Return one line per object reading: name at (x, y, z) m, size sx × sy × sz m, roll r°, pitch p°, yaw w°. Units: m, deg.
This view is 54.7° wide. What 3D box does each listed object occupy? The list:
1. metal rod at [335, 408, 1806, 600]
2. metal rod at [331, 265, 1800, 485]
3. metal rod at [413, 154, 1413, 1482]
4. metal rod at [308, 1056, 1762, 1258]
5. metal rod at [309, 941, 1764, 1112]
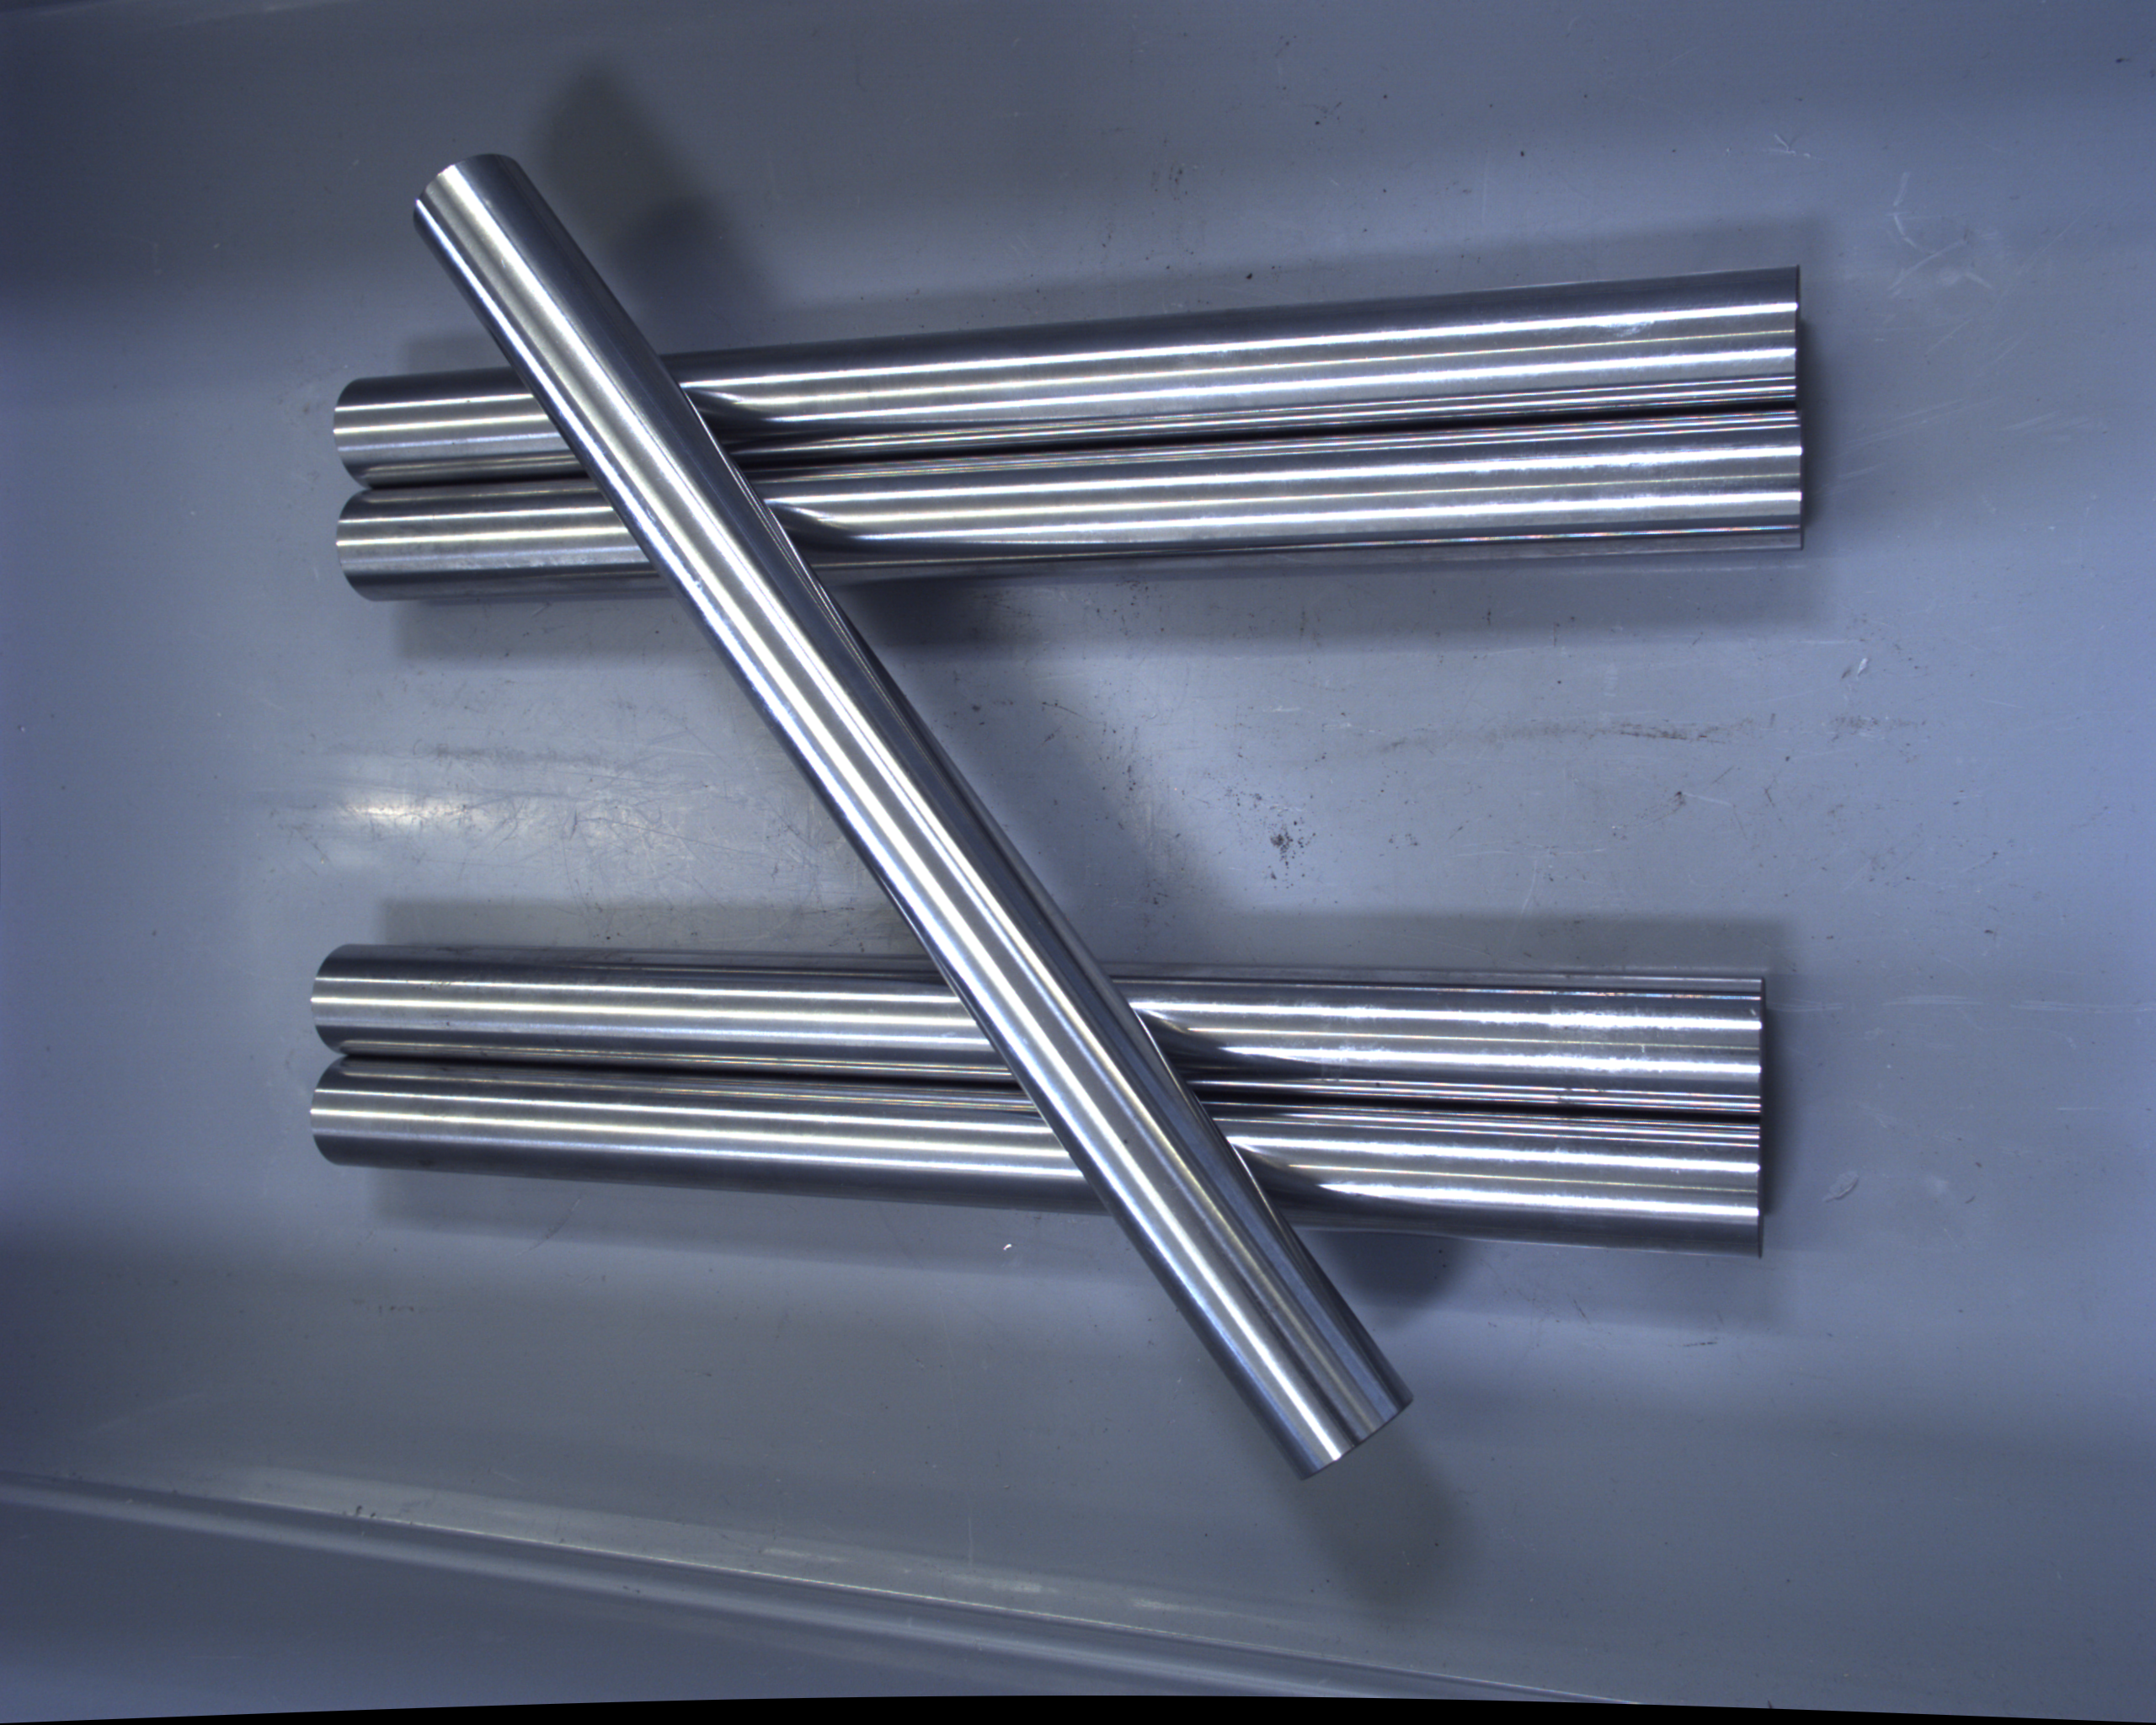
metal rod at (-0.015, -0.069, 0.414) m, size 0.301 × 0.025 × 0.025 m, roll 1°, pitch 90°, yaw 19°
metal rod at (-0.016, -0.093, 0.414) m, size 0.301 × 0.025 × 0.025 m, roll 1°, pitch 90°, yaw 19°
metal rod at (-0.038, -0.017, 0.396) m, size 0.025 × 0.025 × 0.299 m, roll -40°, pitch 78°, yaw 16°
metal rod at (-0.022, 0.056, 0.416) m, size 0.301 × 0.025 × 0.025 m, roll 0°, pitch 90°, yaw 19°
metal rod at (-0.021, 0.031, 0.416) m, size 0.301 × 0.025 × 0.025 m, roll 0°, pitch 90°, yaw 19°
